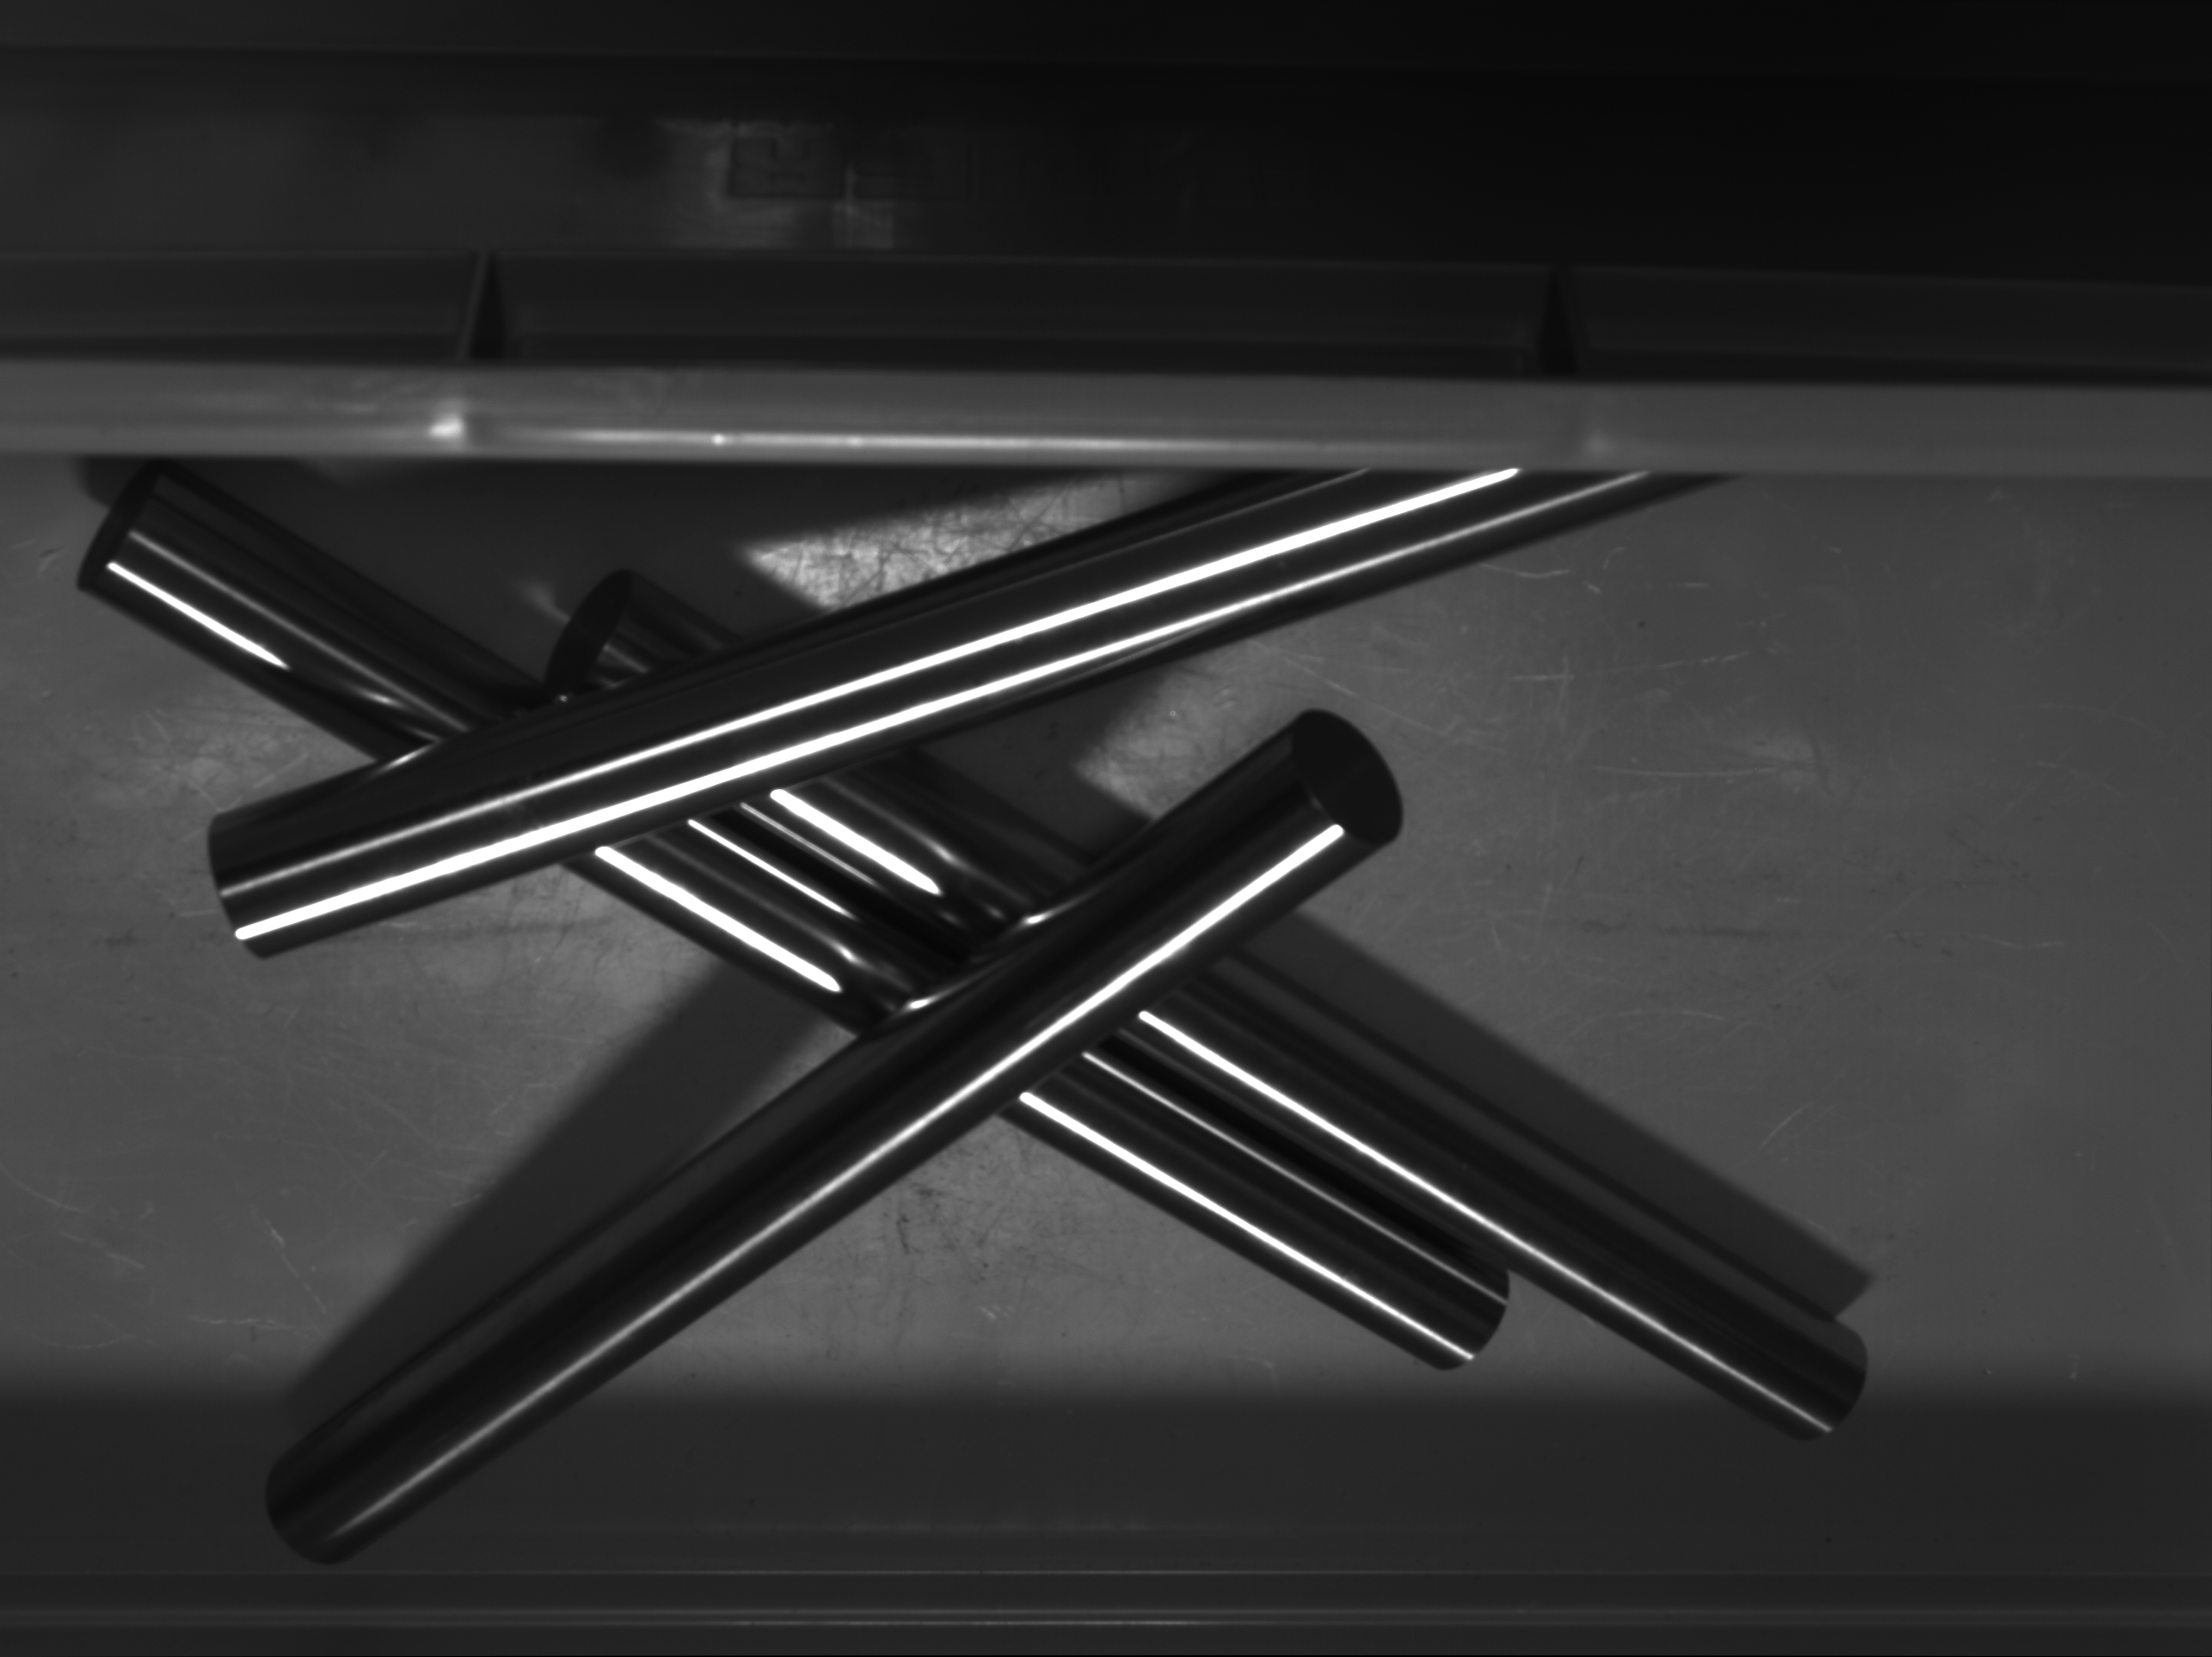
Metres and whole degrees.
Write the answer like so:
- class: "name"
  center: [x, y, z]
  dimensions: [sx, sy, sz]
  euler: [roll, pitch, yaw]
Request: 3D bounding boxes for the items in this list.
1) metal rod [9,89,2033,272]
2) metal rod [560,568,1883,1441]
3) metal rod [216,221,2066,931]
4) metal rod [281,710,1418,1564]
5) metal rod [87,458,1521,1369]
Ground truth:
- class: "metal rod"
  center: [-0.012, -0.098, 0.555]
  dimensions: [0.300, 0.025, 0.025]
  euler: [-1, 130, -1]
- class: "metal rod"
  center: [0.031, 0.040, 0.672]
  dimensions: [0.301, 0.025, 0.025]
  euler: [32, 122, -25]
- class: "metal rod"
  center: [0.003, -0.040, 0.584]
  dimensions: [0.300, 0.025, 0.025]
  euler: [-18, 129, 5]
- class: "metal rod"
  center: [-0.059, 0.065, 0.664]
  dimensions: [0.025, 0.025, 0.299]
  euler: [34, 129, -26]
- class: "metal rod"
  center: [-0.043, 0.023, 0.656]
  dimensions: [0.301, 0.025, 0.025]
  euler: [32, 122, -25]
